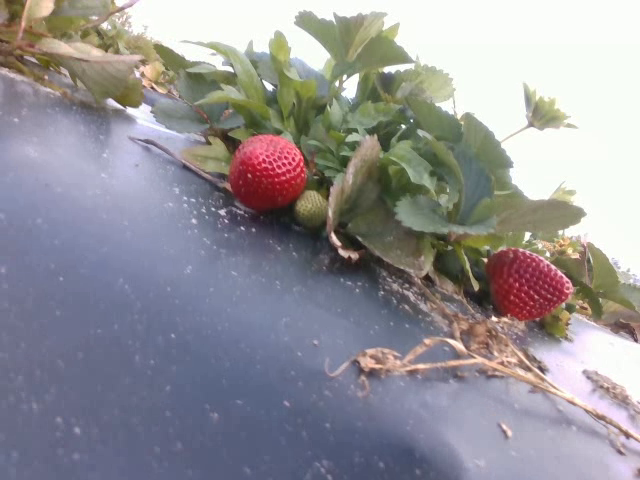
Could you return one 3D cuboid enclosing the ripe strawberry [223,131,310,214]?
[{"bbox_3d":[-0.030,-0.032,0.298,0.043,0.042,0.051,31,10,11],"label":"ripe strawberry"}]

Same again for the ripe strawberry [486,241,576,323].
[{"bbox_3d":[0.118,0.023,0.338,0.046,0.046,0.043,10,23,38],"label":"ripe strawberry"}]
